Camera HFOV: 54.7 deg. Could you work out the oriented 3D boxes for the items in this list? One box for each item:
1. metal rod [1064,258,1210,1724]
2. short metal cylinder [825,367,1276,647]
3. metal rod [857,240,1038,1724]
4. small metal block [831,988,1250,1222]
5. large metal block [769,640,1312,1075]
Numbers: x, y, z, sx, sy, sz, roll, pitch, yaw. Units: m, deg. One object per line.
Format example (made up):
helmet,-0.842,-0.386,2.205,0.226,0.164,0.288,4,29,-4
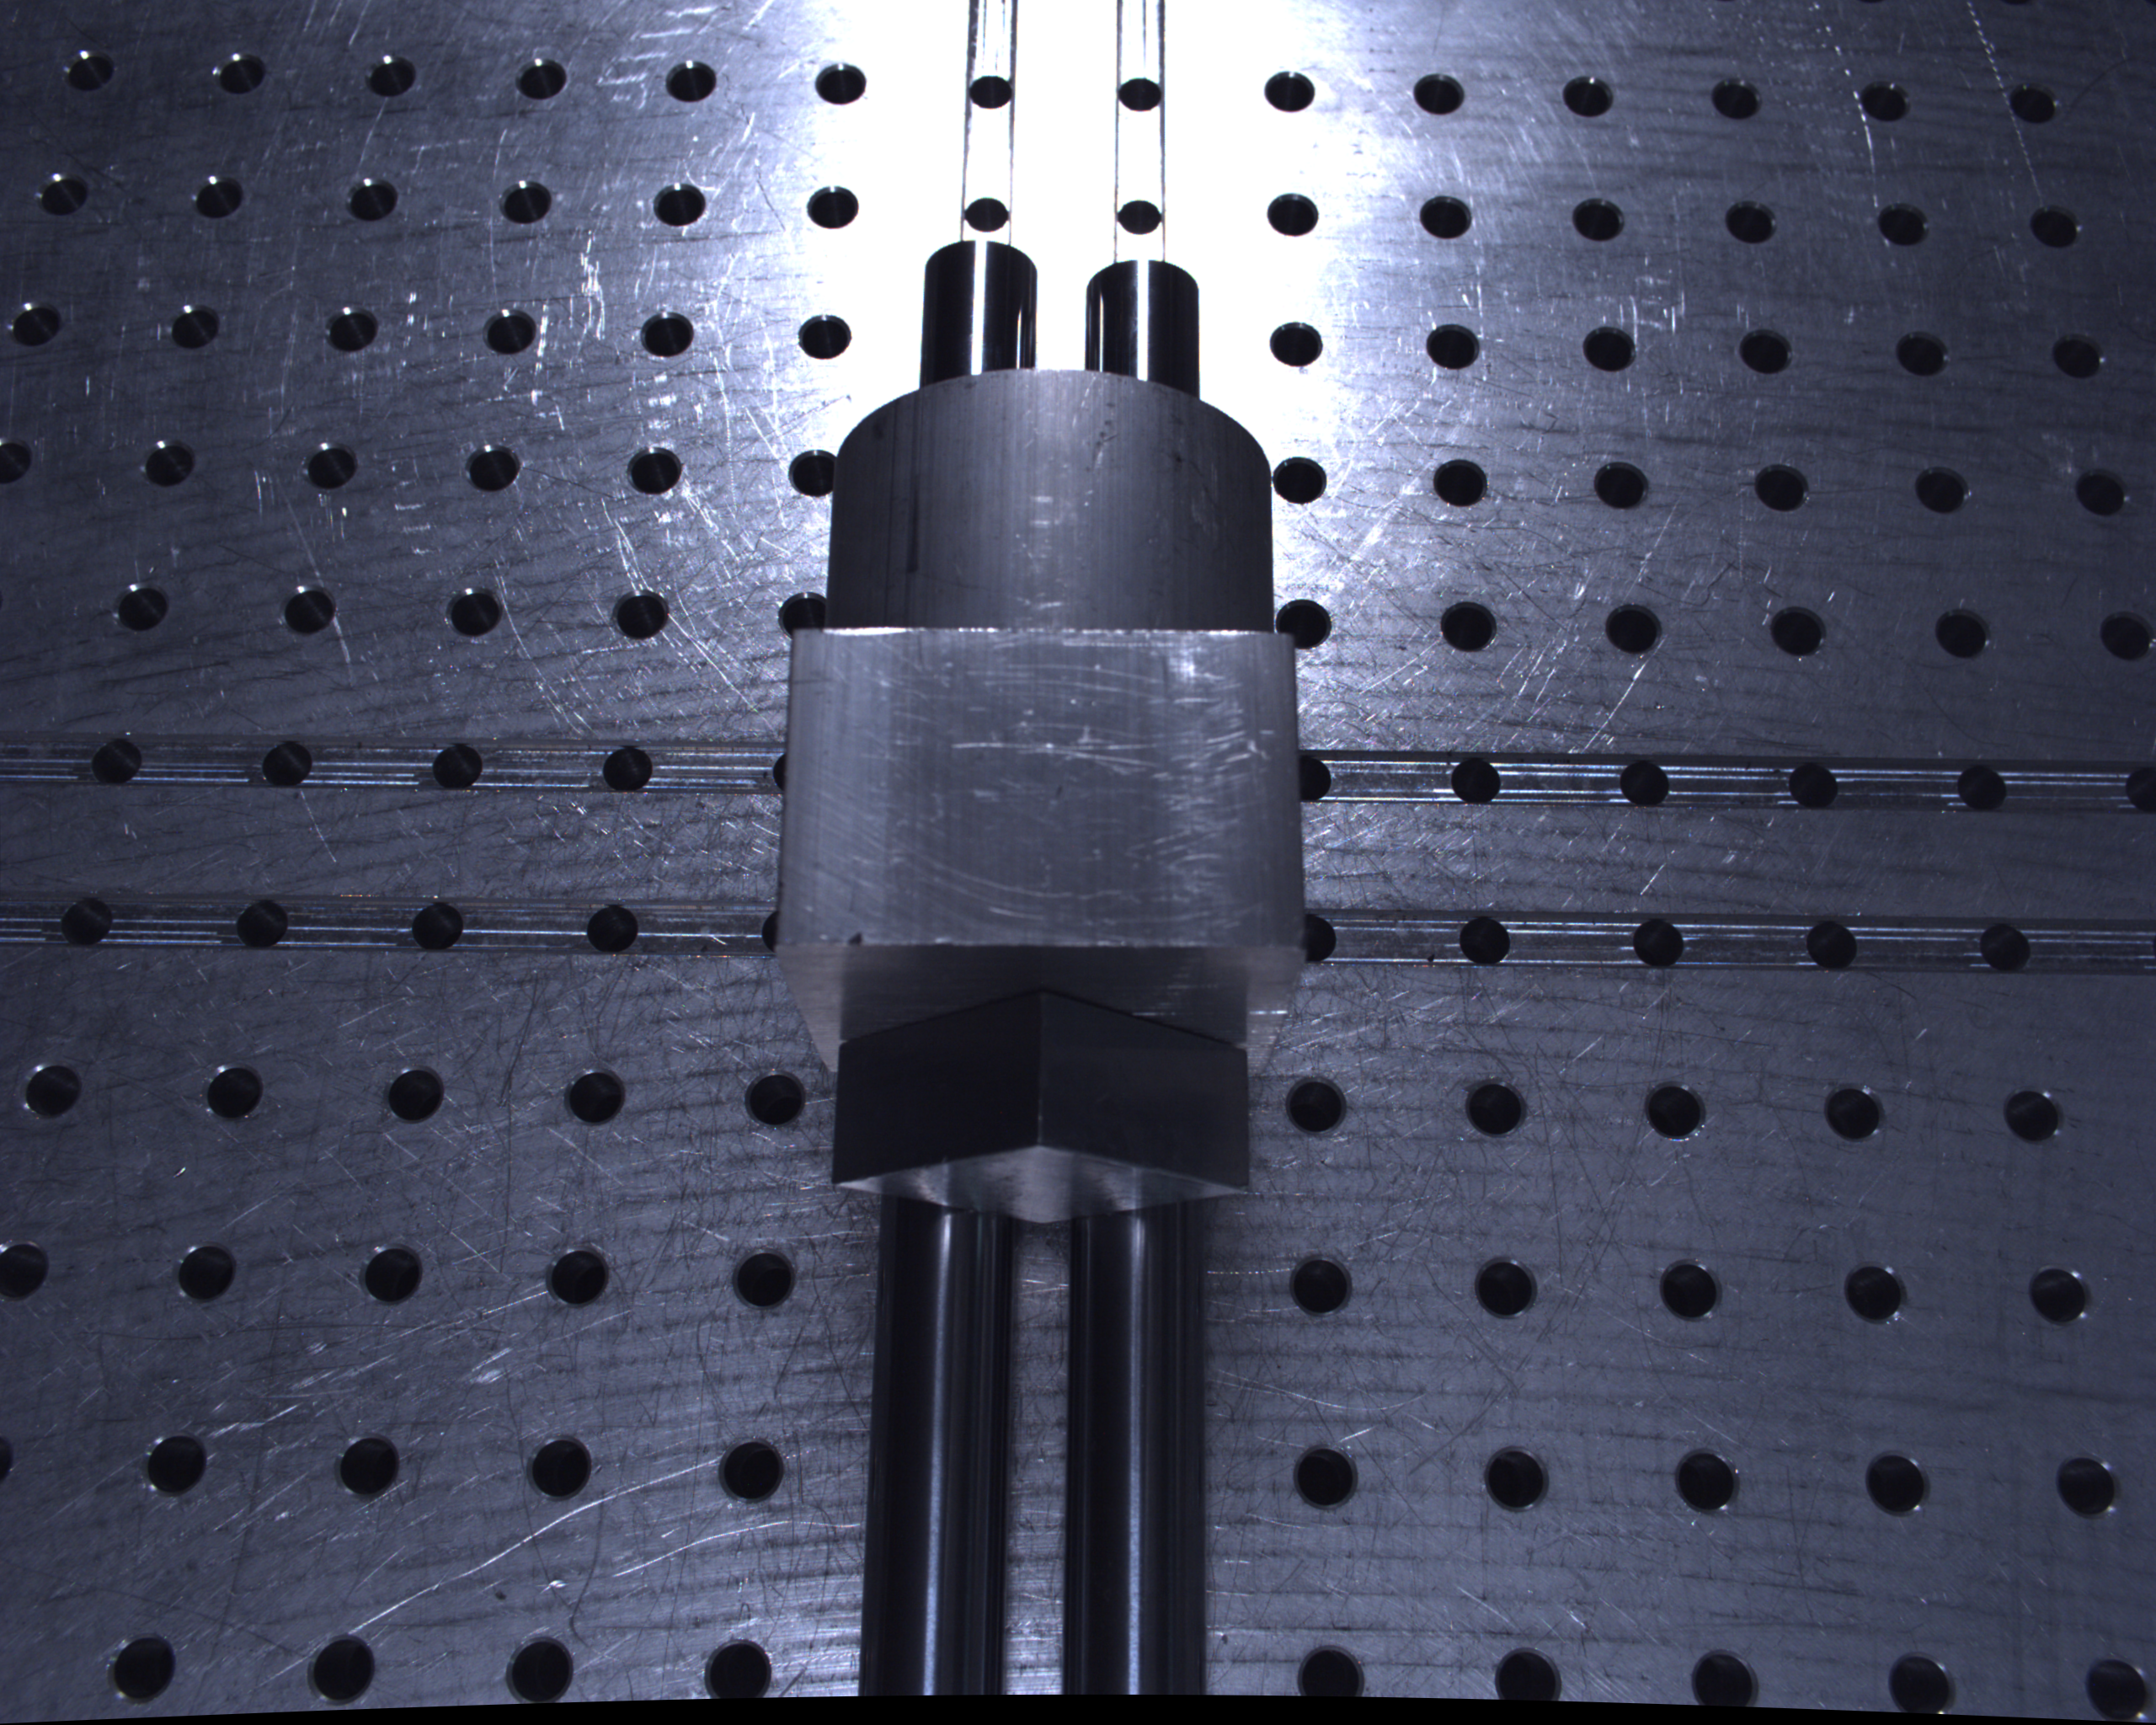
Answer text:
metal rod,0.012,0.015,0.408,0.025,0.025,0.299,1,70,0
short metal cylinder,-0.005,-0.046,0.377,0.081,0.080,0.050,1,70,0
metal rod,-0.023,0.011,0.409,0.025,0.025,0.299,1,70,0
small metal block,-0.006,0.043,0.358,0.050,0.050,0.025,19,63,-42
large metal block,-0.005,0.002,0.355,0.081,0.080,0.050,0,70,0
